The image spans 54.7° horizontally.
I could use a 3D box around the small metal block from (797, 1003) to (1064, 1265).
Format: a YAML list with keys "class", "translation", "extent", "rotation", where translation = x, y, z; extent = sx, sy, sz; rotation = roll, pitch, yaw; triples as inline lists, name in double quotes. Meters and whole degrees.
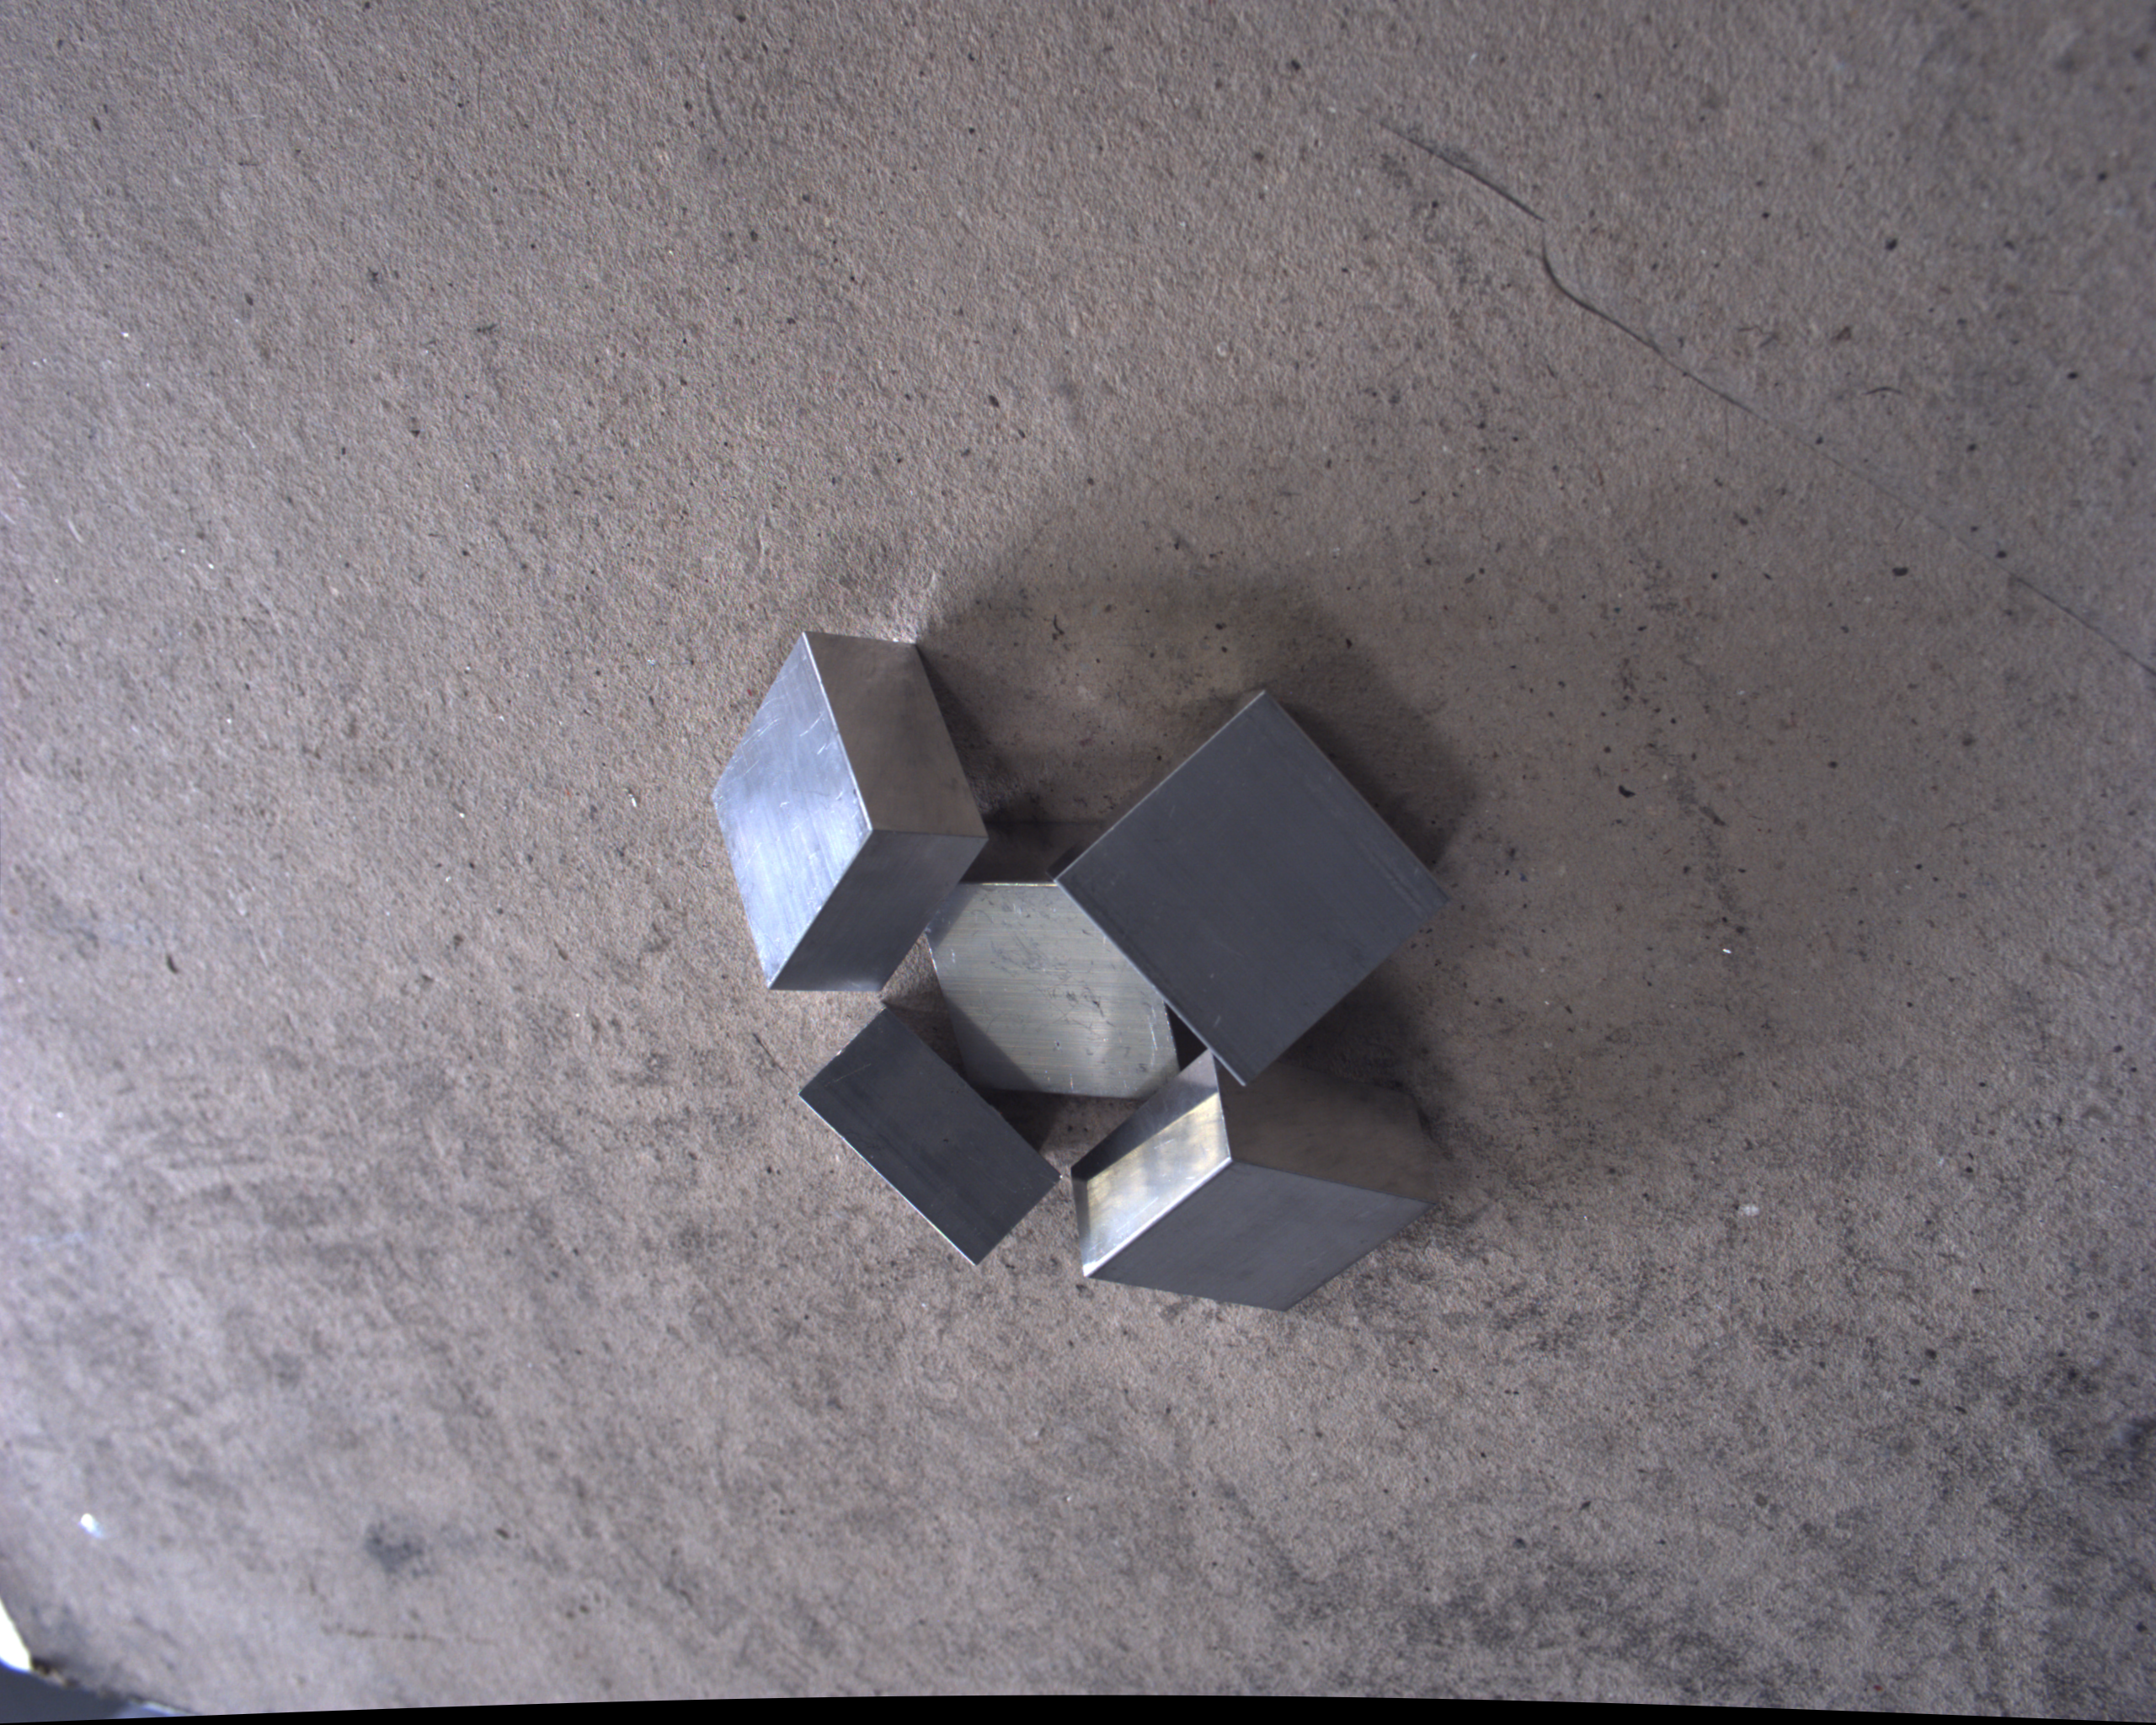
- class: "small metal block"
  translation: [-0.032, 0.056, 0.443]
  extent: [0.050, 0.025, 0.050]
  rotation: [45, 173, -3]

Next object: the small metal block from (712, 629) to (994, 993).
- class: "small metal block"
  translation: [-0.046, -0.009, 0.411]
  extent: [0.050, 0.025, 0.050]
  rotation: [-53, 46, 39]

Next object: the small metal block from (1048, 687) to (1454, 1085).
- class: "small metal block"
  translation: [0.030, 0.004, 0.379]
  extent: [0.050, 0.025, 0.050]
  rotation: [-43, 96, -2]

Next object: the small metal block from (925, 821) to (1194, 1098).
- class: "small metal block"
  translation: [-0.001, 0.019, 0.421]
  extent: [0.050, 0.025, 0.050]
  rotation: [-1, 118, 27]

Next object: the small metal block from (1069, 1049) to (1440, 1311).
- class: "small metal block"
  translation: [0.034, 0.064, 0.414]
  extent: [0.050, 0.025, 0.050]
  rotation: [16, 137, -29]
